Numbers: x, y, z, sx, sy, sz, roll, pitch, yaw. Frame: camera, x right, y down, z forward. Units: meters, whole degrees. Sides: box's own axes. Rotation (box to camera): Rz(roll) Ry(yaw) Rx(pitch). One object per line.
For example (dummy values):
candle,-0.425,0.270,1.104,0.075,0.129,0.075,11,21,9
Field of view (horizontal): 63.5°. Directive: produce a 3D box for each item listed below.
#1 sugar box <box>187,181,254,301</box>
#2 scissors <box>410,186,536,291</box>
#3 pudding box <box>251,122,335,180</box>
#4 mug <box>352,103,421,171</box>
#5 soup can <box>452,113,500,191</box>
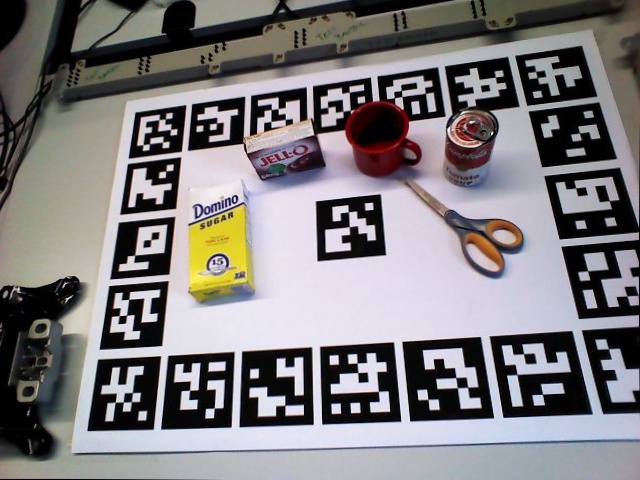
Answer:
sugar box,-0.152,0.000,0.794,0.093,0.045,0.175,-8,69,11
scissors,0.206,-0.019,0.734,0.088,0.016,0.203,-47,67,2
pudding box,-0.040,-0.138,0.793,0.114,0.090,0.038,-14,73,6
mug,0.108,-0.148,0.773,0.093,0.081,0.117,-39,64,-2
soup can,0.221,-0.122,0.734,0.068,0.102,0.067,-5,66,11
